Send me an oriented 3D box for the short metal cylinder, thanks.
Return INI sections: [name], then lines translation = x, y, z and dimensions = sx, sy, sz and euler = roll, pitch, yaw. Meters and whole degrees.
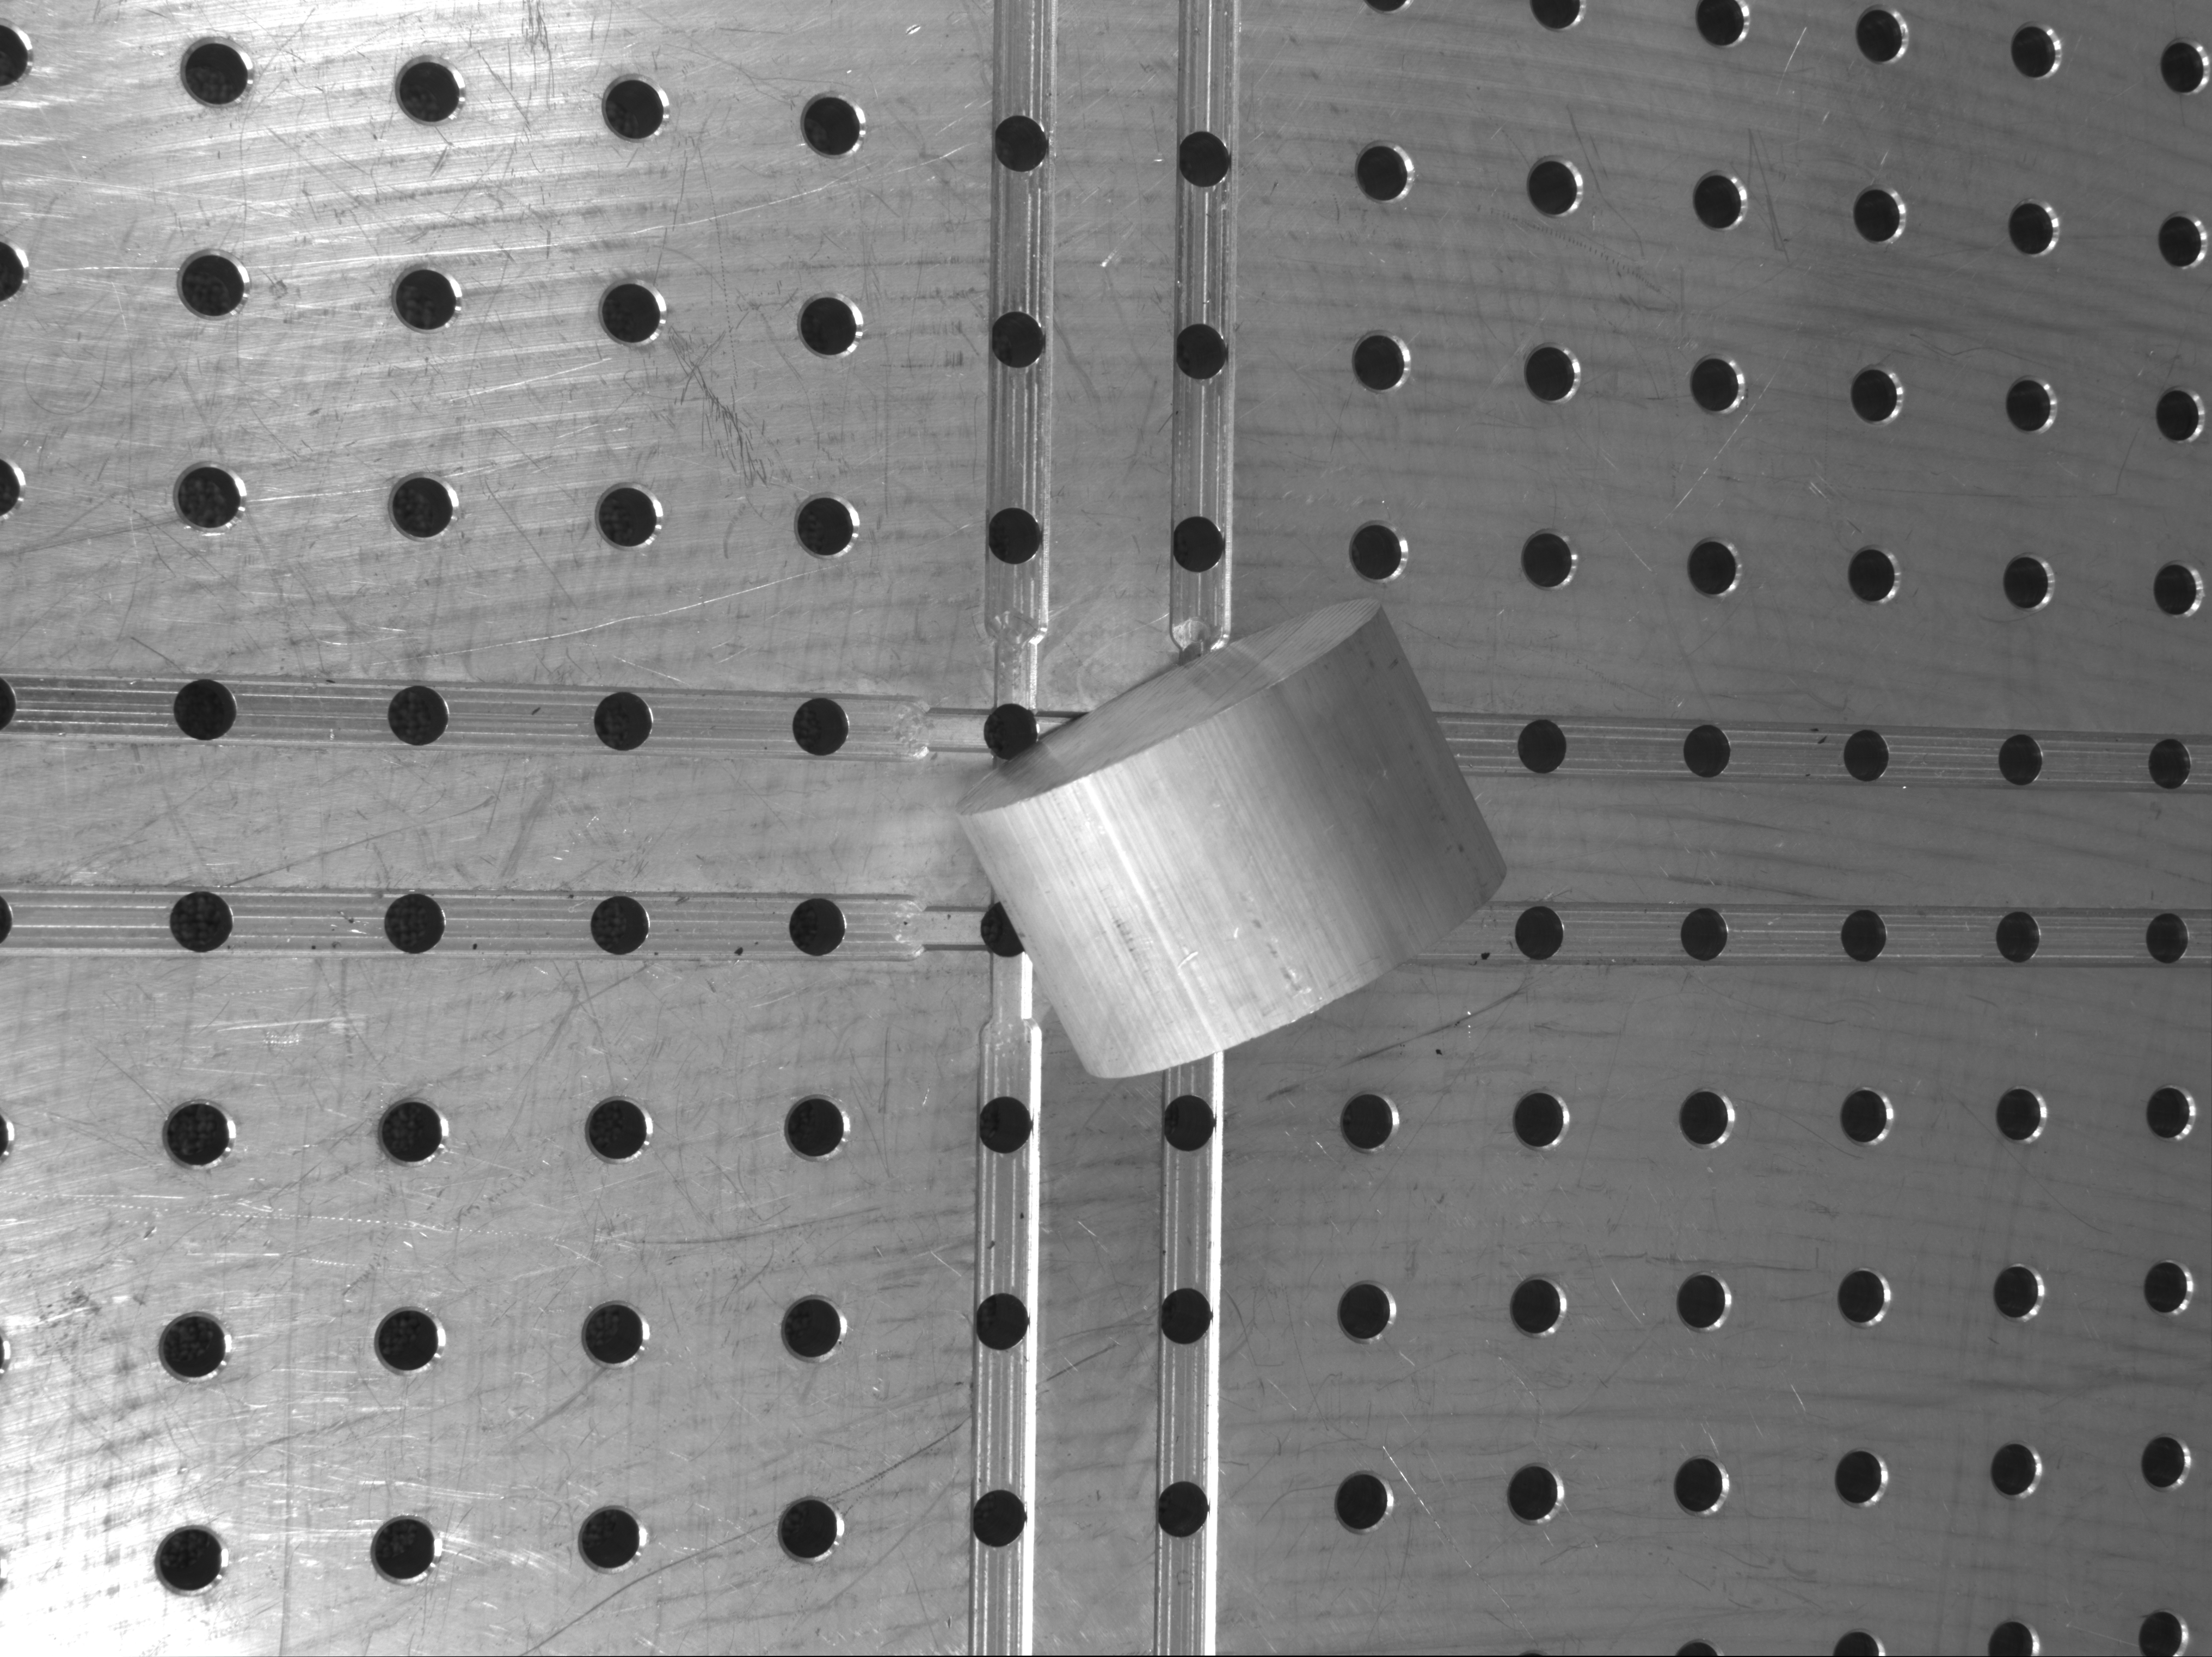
[short metal cylinder]
translation = 0.021, 0.001, 0.624
dimensions = 0.080, 0.080, 0.050
euler = -29, 99, -17
